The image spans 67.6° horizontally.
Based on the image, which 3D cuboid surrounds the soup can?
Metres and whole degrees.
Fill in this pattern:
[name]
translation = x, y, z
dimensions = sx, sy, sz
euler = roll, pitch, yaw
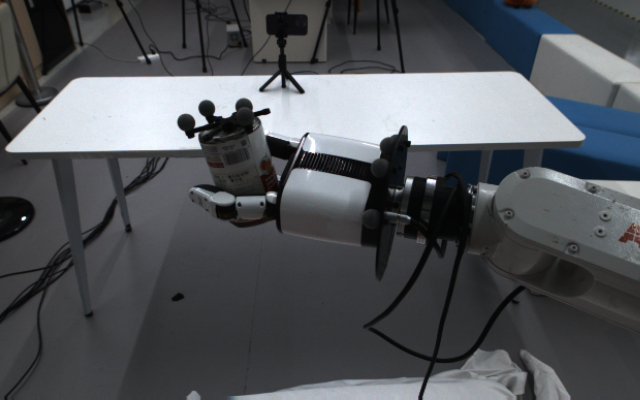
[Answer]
[soup can]
translation = -0.080, -0.030, 0.515
dimensions = 0.067, 0.101, 0.067
euler = -11, 28, 6
